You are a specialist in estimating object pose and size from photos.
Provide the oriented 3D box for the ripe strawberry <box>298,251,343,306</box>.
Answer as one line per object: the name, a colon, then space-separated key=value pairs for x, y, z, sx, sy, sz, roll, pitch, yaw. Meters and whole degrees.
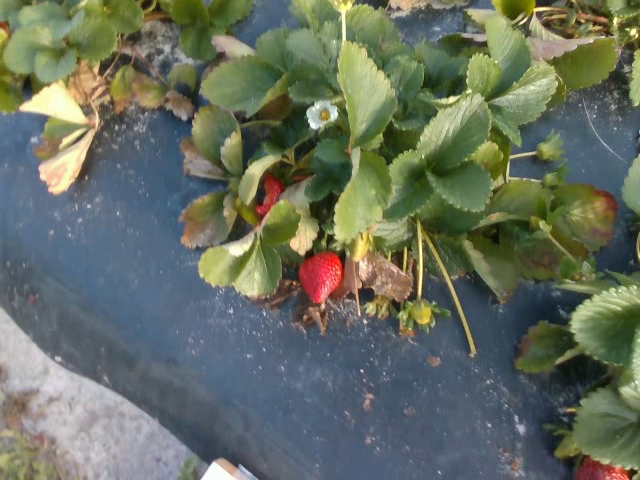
ripe strawberry: x=-0.002 y=0.023 z=0.323 sx=0.031 sy=0.030 sz=0.026 roll=-5 pitch=-31 yaw=12
